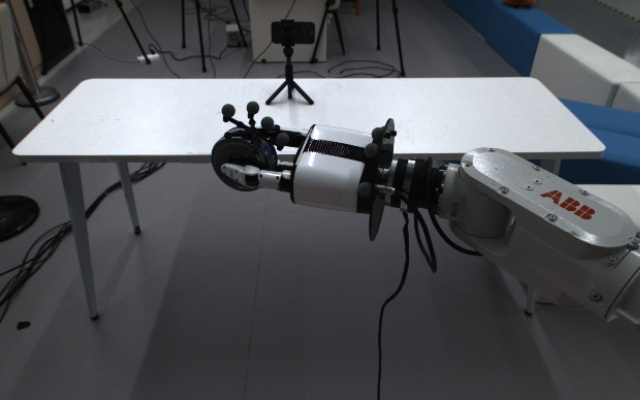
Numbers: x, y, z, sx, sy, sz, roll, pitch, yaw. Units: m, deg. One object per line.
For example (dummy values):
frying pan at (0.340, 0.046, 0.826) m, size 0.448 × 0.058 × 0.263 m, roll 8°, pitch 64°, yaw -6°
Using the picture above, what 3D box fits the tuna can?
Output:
tuna can at (-0.100, -0.048, 0.656) m, size 0.085 × 0.085 × 0.034 m, roll 12°, pitch 35°, yaw 14°
